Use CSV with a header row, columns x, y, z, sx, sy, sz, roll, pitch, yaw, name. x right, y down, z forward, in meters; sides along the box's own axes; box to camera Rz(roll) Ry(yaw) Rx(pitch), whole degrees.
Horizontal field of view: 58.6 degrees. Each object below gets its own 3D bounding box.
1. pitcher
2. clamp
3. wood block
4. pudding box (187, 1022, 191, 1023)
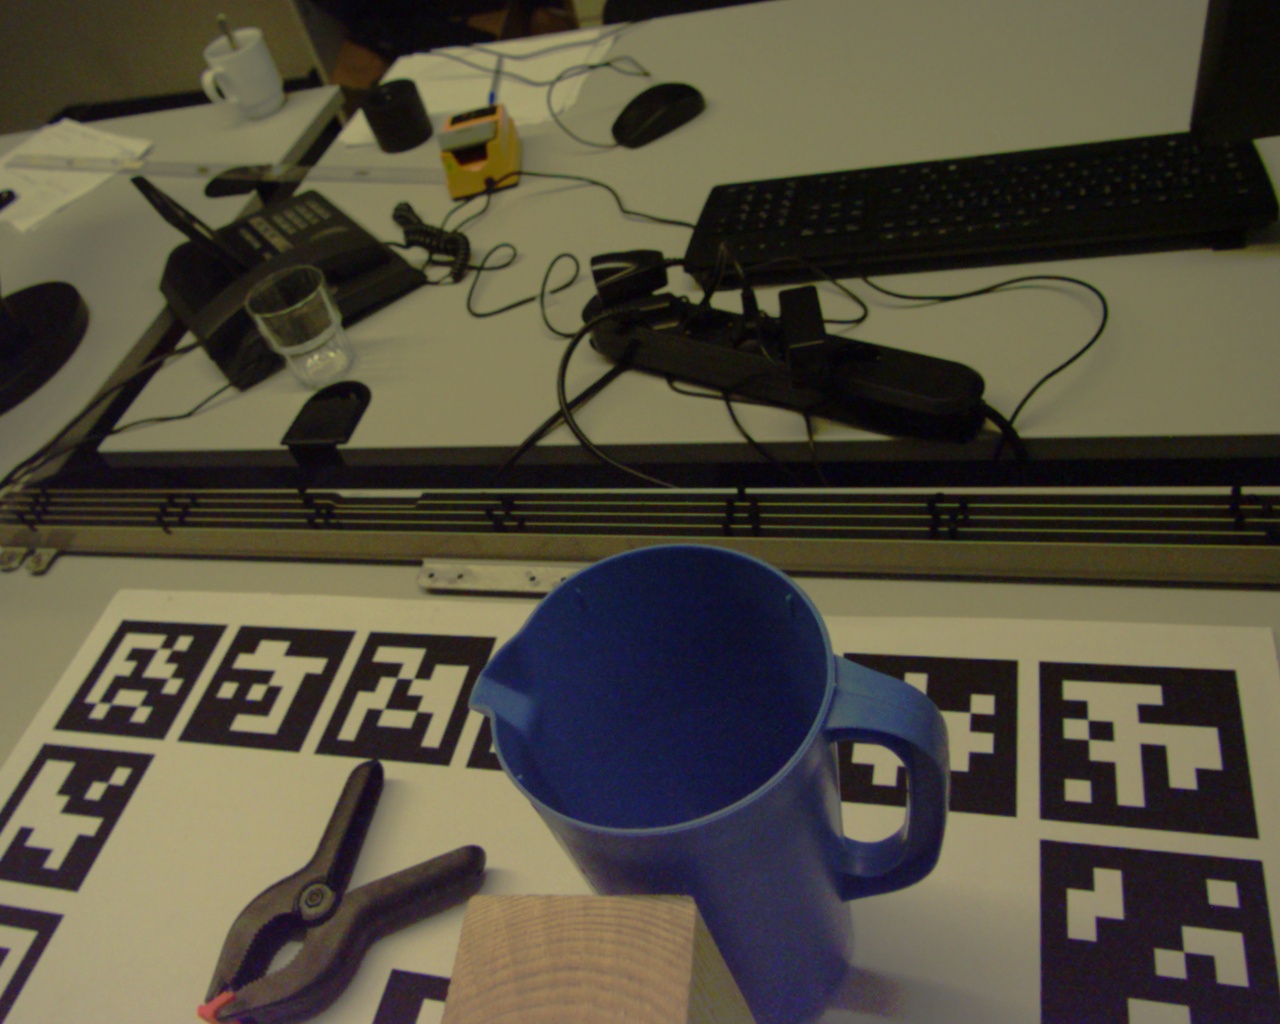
x,y,z,sx,sy,sz,roll,pitch,yaw,name
0.034,0.139,0.538,0.191,0.240,0.133,-2,43,22,pitcher
-0.186,0.228,0.689,0.123,0.036,0.164,31,63,32,clamp
-0.015,0.238,0.479,0.090,0.205,0.091,1,46,15,wood block
-0.245,0.342,0.590,0.089,0.038,0.115,-39,45,-15,pudding box
